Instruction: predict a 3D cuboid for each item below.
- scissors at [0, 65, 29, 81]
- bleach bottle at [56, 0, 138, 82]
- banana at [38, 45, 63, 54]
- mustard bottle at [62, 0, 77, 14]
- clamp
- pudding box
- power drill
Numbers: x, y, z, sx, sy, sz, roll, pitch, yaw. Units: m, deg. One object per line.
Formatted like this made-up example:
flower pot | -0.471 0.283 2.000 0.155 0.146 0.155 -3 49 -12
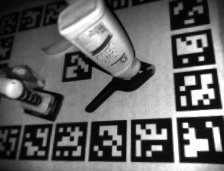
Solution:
scissors | -0.326 -0.037 0.614 0.201 0.016 0.088 22 84 21
bleach bottle | -0.002 -0.068 0.469 0.102 0.254 0.067 -26 60 19
banana | -0.157 -0.159 0.689 0.197 0.039 0.073 -42 45 3
mustard bottle | -0.080 -0.176 0.591 0.095 0.194 0.058 9 75 23
clamp | 0.003 -0.017 0.569 0.201 0.037 0.165 -11 70 15
pudding box | -0.295 -0.011 0.666 0.113 0.091 0.038 -1 64 20
power drill | -0.271 0.039 0.551 0.182 0.189 0.057 7 68 26
